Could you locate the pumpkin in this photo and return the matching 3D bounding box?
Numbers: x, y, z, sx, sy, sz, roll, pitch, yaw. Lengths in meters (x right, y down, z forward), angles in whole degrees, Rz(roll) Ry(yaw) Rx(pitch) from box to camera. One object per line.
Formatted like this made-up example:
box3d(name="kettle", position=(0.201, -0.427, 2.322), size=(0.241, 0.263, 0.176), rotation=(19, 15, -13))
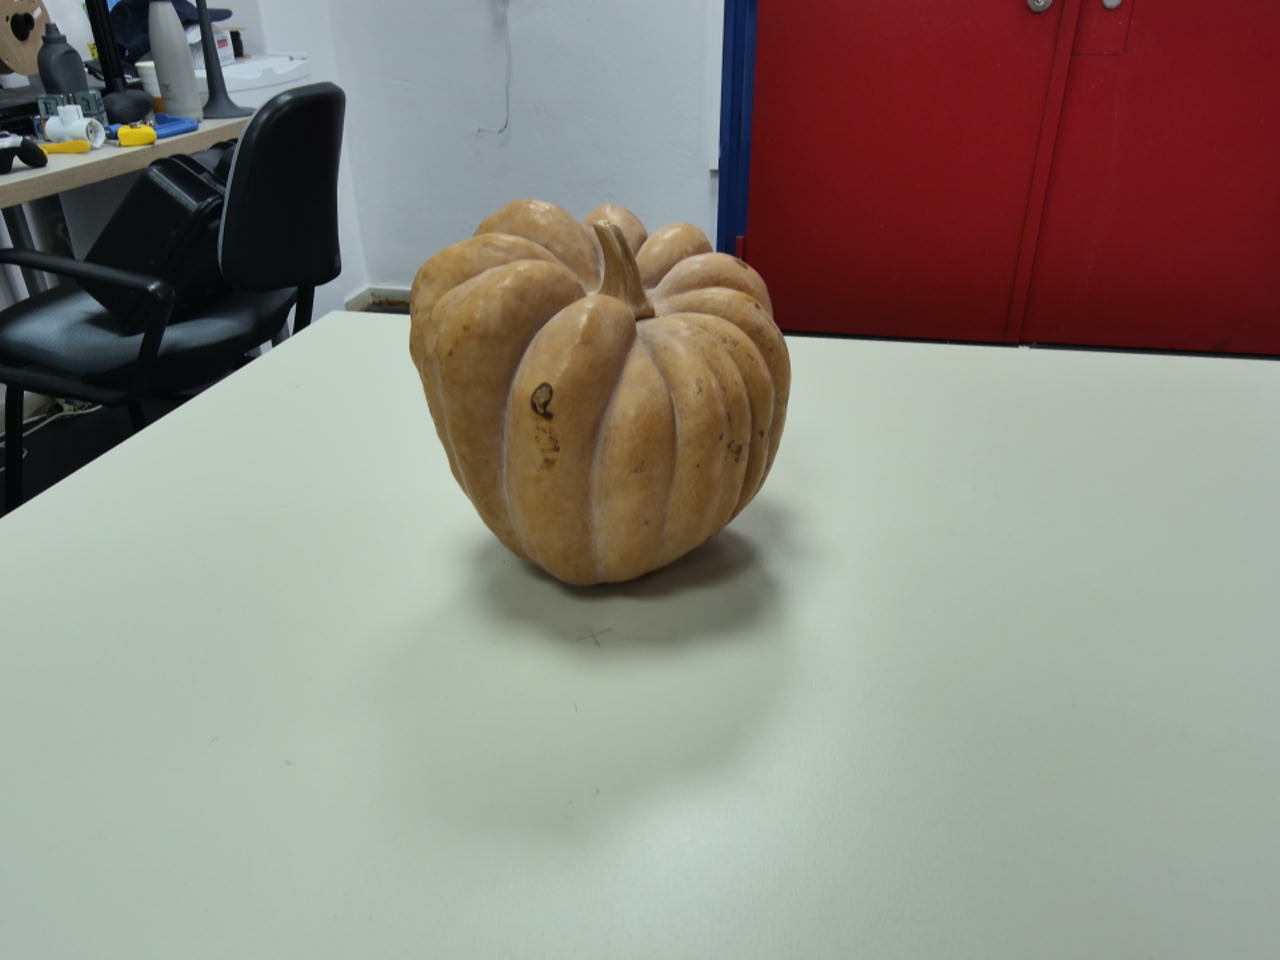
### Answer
box3d(name="pumpkin", position=(-0.020, -0.046, 0.505), size=(0.199, 0.177, 0.198), rotation=(0, 26, 0))
